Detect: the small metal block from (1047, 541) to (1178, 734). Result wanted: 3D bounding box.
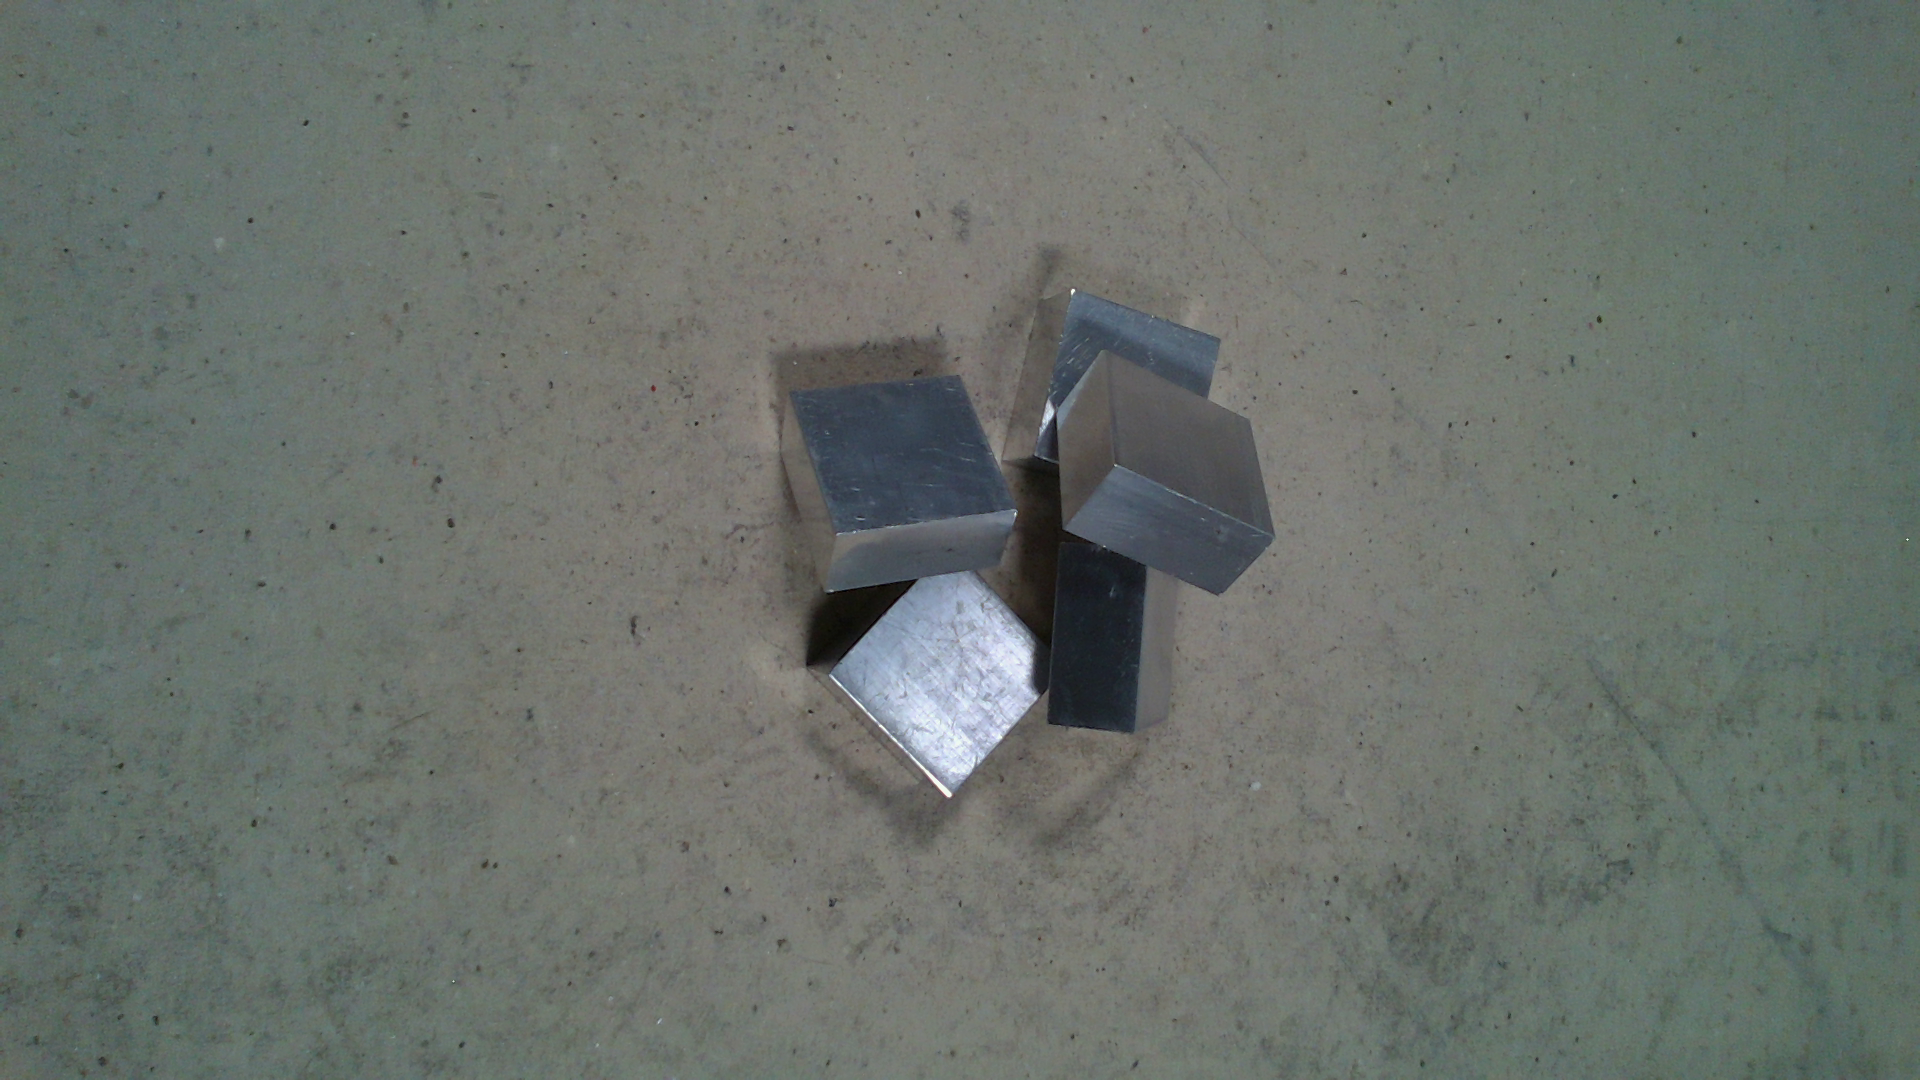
[{"bbox_3d":[0.045,0.027,0.394,0.025,0.050,0.050,4,88,19],"label":"small metal block"}]

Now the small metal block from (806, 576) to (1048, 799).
[{"bbox_3d":[-0.007,0.036,0.391,0.050,0.025,0.050,-47,104,-14],"label":"small metal block"}]

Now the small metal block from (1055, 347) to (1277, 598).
[{"bbox_3d":[0.054,-0.019,0.373,0.050,0.025,0.050,23,39,-19],"label":"small metal block"}]

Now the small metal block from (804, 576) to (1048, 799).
[{"bbox_3d":[-0.007,0.036,0.391,0.050,0.025,0.050,47,76,-14],"label":"small metal block"}]

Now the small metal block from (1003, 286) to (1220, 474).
[{"bbox_3d":[0.045,-0.042,0.410,0.050,0.025,0.050,15,85,-19],"label":"small metal block"}]

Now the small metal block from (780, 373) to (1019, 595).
[{"bbox_3d":[-0.018,-0.016,0.374,0.050,0.025,0.050,-8,55,-20],"label":"small metal block"}]
